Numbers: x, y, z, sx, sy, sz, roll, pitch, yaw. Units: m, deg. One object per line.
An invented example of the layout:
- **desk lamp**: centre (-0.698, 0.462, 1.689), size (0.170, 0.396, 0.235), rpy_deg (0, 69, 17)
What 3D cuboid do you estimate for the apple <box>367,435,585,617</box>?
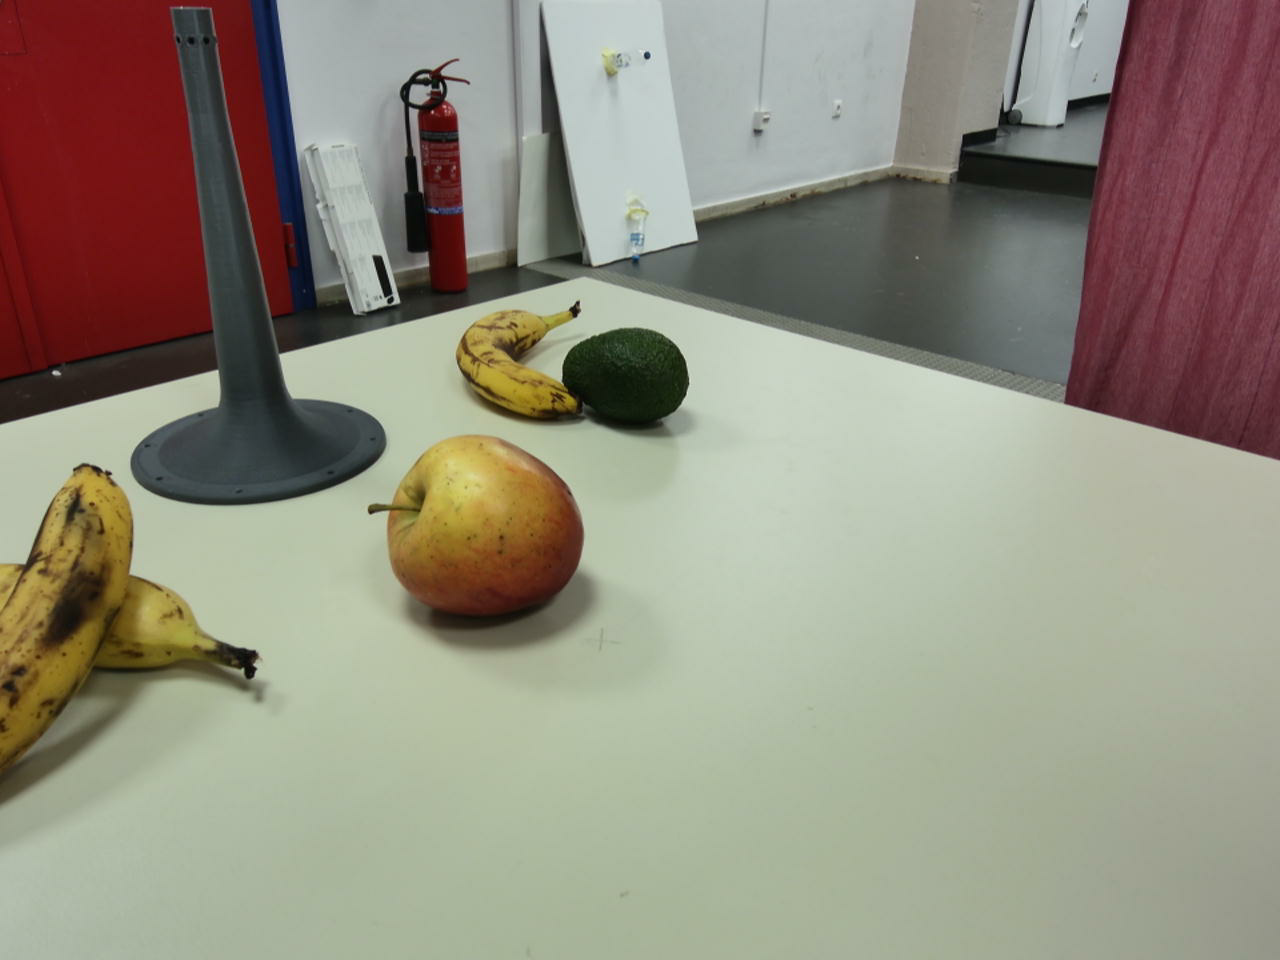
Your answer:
- **apple**: centre (-0.074, 0.022, 0.470), size (0.093, 0.084, 0.086), rpy_deg (4, 24, 4)
